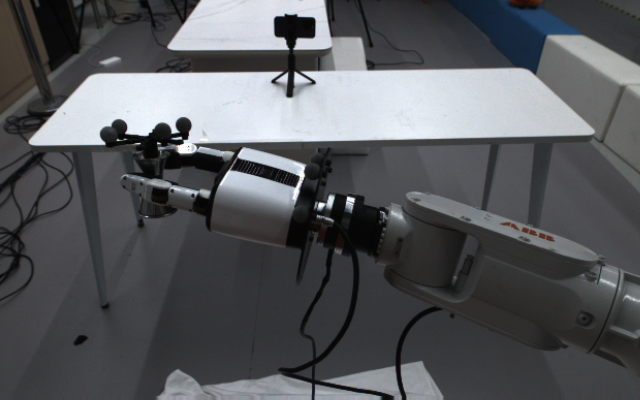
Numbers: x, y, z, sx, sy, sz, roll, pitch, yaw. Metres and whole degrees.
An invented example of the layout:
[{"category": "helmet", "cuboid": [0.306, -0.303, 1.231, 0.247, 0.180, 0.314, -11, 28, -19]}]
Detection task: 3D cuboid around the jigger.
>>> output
[{"category": "jigger", "cuboid": [-0.186, -0.018, 0.547, 0.043, 0.071, 0.043, 0, 21, 0]}]
